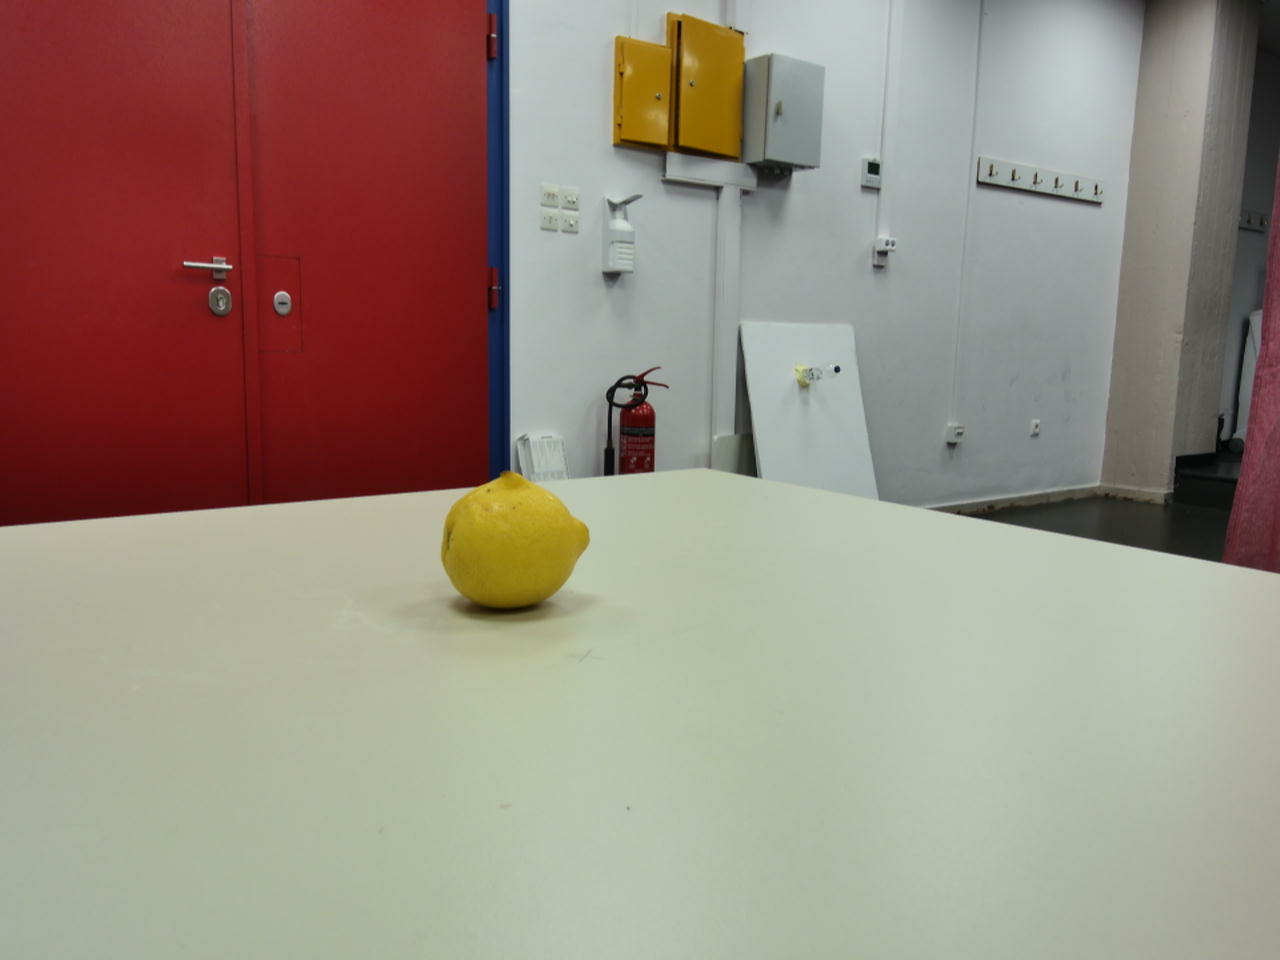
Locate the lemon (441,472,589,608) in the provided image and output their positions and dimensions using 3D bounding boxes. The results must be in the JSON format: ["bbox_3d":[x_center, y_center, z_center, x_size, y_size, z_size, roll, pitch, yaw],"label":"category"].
[{"bbox_3d":[-0.069,0.030,0.523,0.071,0.071,0.070,2,7,19],"label":"lemon"}]
